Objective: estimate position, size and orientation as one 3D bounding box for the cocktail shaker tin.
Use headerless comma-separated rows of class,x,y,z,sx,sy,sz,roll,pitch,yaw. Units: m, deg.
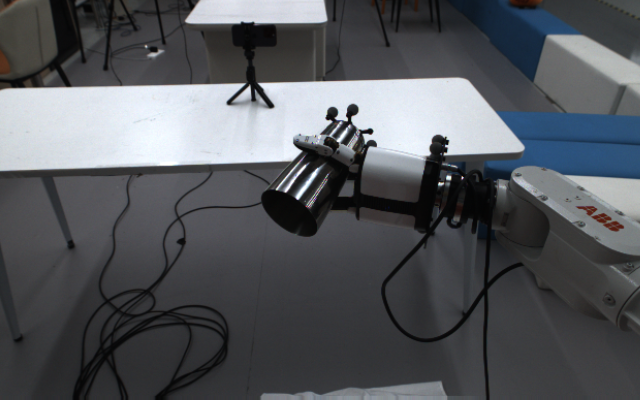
cocktail shaker tin,0.001,-0.044,0.705,0.093,0.093,0.170,19,55,23
